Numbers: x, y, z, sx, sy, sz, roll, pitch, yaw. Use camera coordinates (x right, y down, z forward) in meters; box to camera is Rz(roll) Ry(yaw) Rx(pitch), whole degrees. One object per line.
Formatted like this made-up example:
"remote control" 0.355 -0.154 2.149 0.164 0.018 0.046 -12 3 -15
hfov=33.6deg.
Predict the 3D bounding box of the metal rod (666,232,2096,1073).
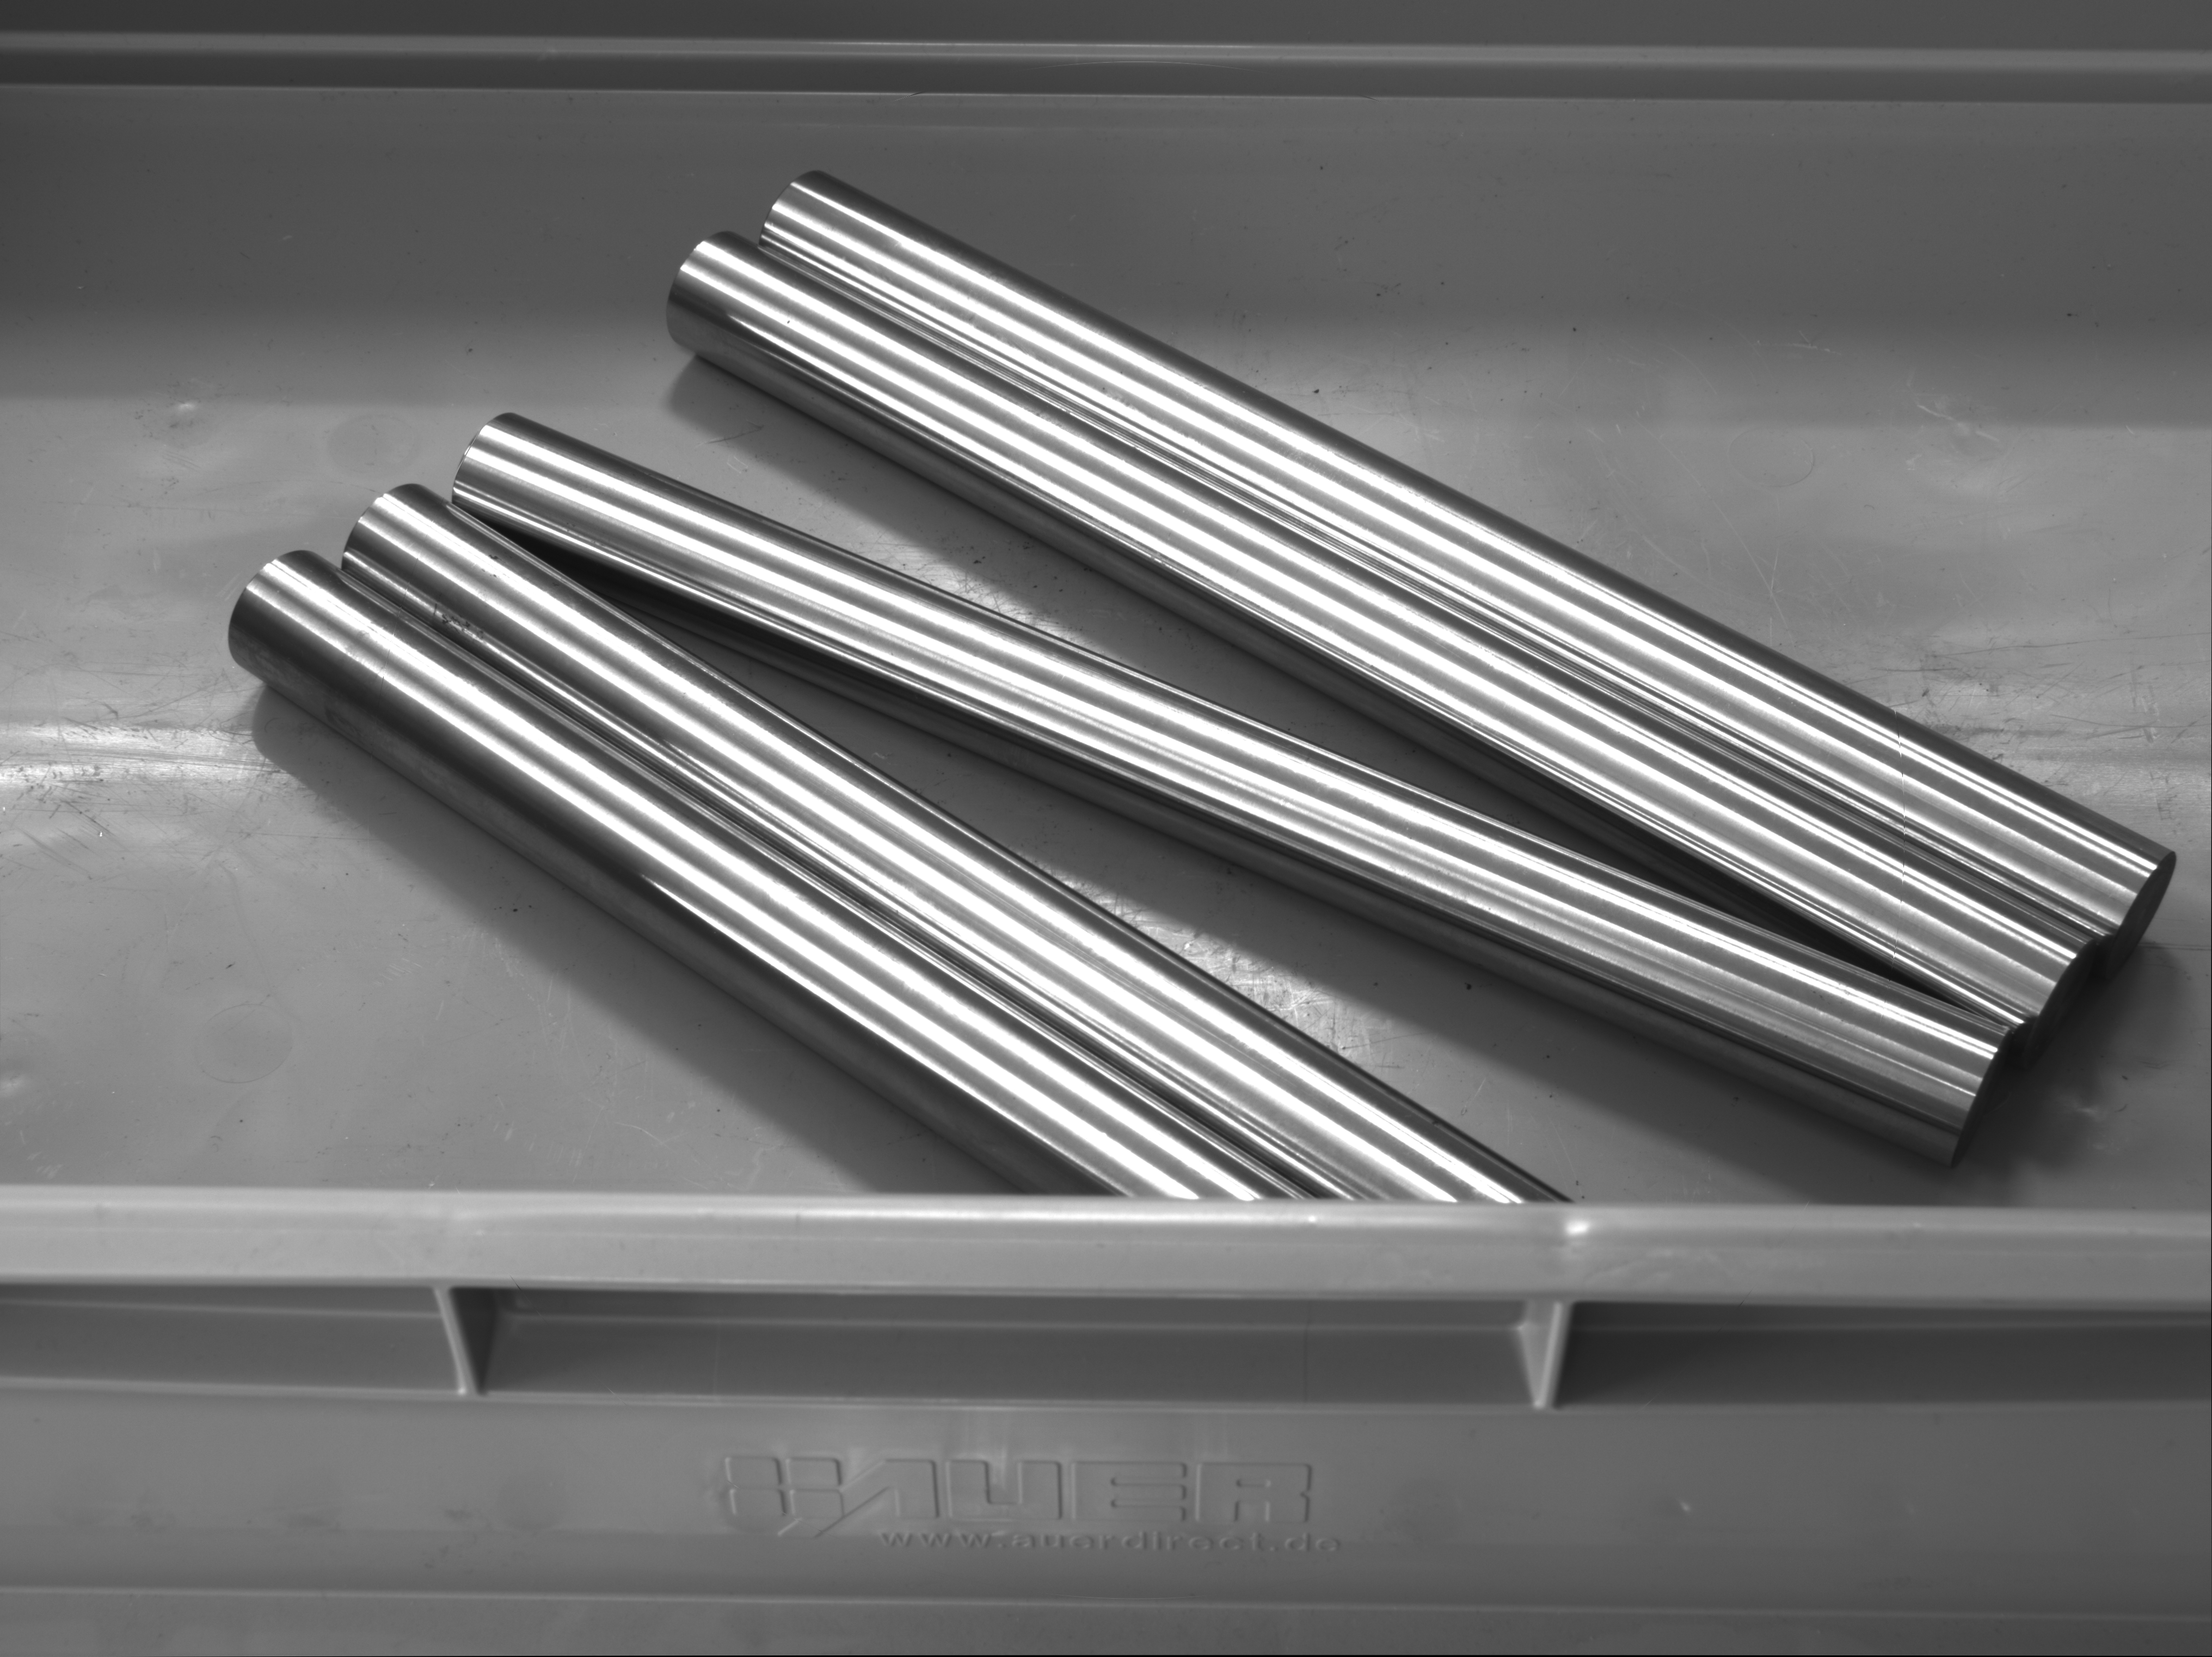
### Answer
"metal rod" 0.040 -0.039 0.673 0.299 0.025 0.025 30 56 23

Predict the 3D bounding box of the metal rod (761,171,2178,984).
"metal rod" 0.058 -0.053 0.685 0.299 0.025 0.025 30 56 23

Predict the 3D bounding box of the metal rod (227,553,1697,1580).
"metal rod" -0.035 0.032 0.614 0.299 0.025 0.025 31 57 24

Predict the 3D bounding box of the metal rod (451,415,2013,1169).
"metal rod" 0.014 -0.011 0.650 0.299 0.025 0.025 23 54 18

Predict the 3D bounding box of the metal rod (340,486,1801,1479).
"metal rod" -0.017 0.018 0.625 0.299 0.025 0.025 31 57 24
